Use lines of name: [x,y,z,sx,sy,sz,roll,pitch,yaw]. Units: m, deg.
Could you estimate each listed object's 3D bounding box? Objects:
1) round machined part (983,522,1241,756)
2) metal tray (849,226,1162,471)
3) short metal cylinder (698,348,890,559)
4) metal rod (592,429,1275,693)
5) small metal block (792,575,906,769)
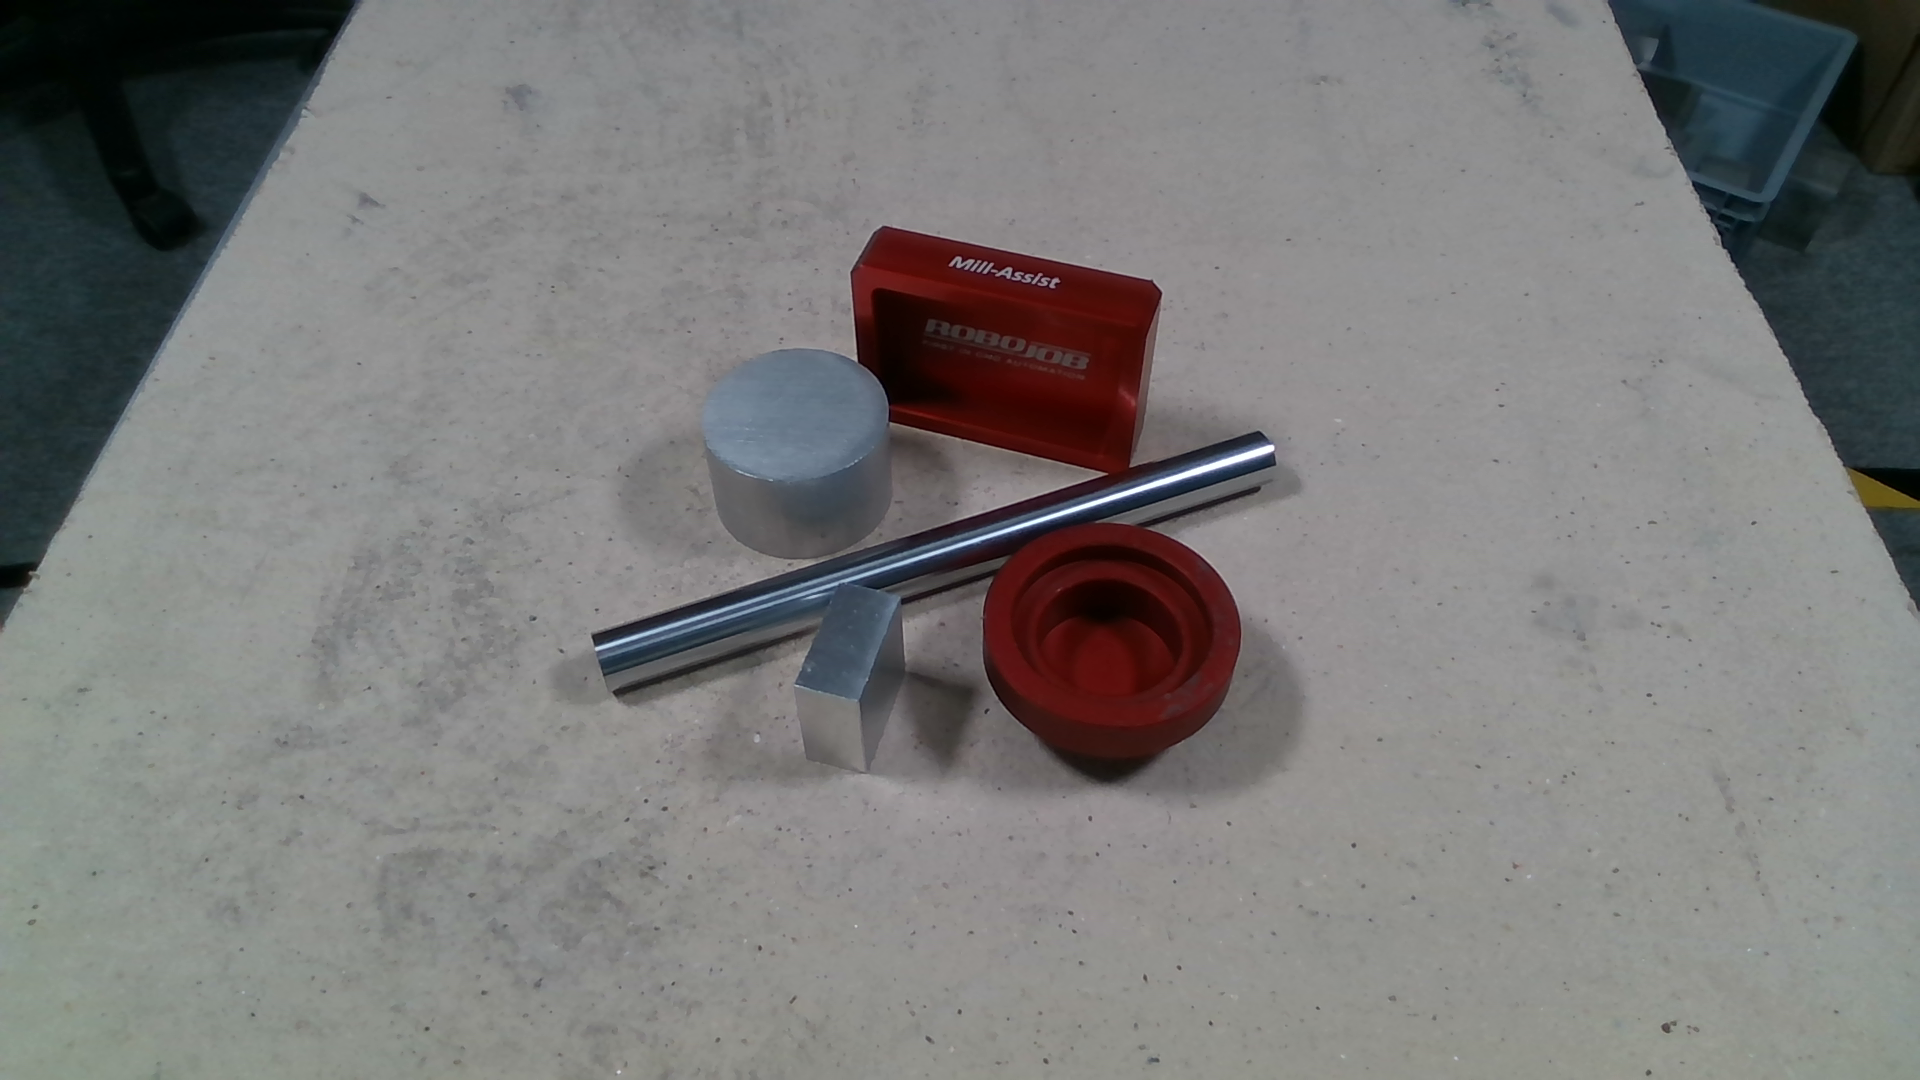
round machined part: [0.058,0.043,0.540,0.098,0.042,0.098,0,50,0]
metal tray: [0.019,-0.084,0.615,0.130,0.090,0.030,14,52,12]
short metal cylinder: [-0.071,-0.038,0.603,0.080,0.050,0.080,0,50,0]
metal rod: [-0.004,0.006,0.583,0.300,0.025,0.025,-17,52,-14]
small metal block: [-0.041,0.051,0.525,0.025,0.050,0.050,13,51,11]
